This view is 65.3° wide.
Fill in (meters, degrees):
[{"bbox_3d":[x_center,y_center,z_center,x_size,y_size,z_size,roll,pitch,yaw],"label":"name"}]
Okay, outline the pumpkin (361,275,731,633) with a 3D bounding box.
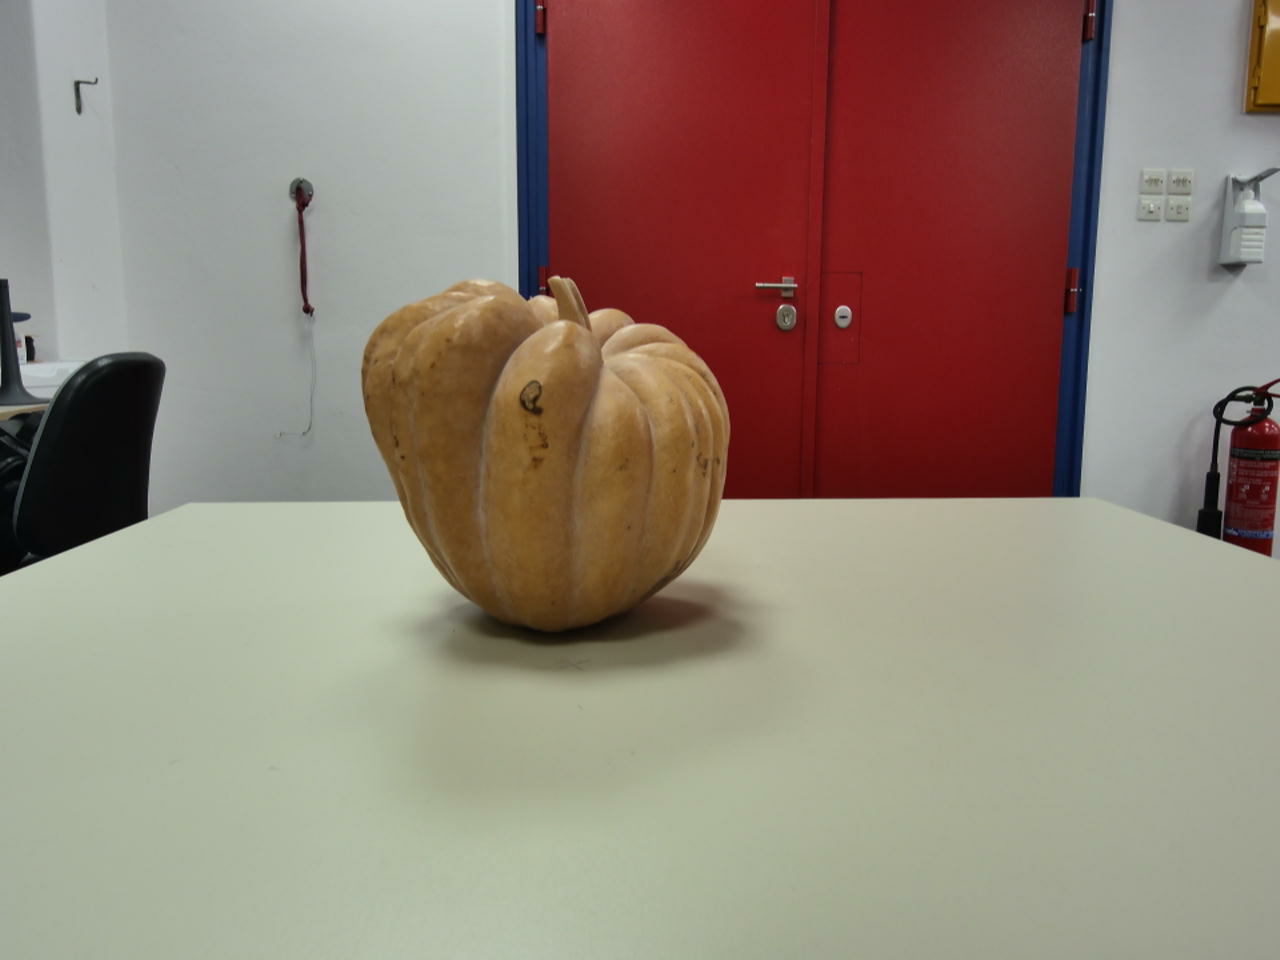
[{"bbox_3d":[-0.047,-0.016,0.519,0.199,0.177,0.198,-1,7,0],"label":"pumpkin"}]
